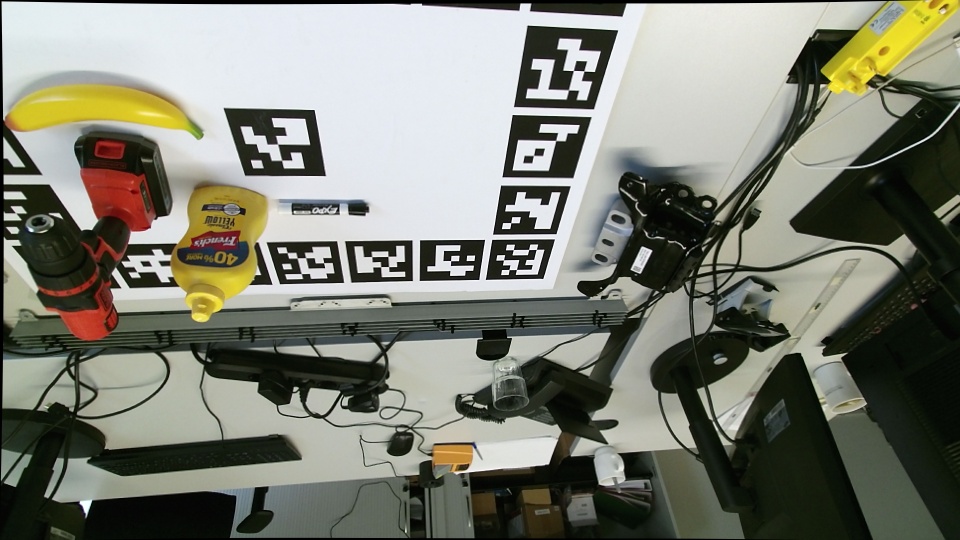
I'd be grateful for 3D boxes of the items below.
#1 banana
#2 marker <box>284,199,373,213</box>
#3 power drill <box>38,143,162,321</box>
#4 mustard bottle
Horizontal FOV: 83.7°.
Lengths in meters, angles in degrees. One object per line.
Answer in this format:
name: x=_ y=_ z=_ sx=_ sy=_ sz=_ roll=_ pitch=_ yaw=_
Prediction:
banana: x=-0.423 y=-0.187 z=0.613 sx=0.198 sy=0.038 sz=0.074 roll=2 pitch=136 yaw=-14
marker: x=-0.215 y=-0.091 z=0.766 sx=0.121 sy=0.019 sz=0.019 roll=-1 pitch=137 yaw=-9
power drill: x=-0.429 y=-0.058 z=0.614 sx=0.057 sy=0.186 sz=0.185 roll=9 pitch=138 yaw=-16
mustard bottle: x=-0.331 y=-0.030 z=0.686 sx=0.096 sy=0.190 sz=0.058 roll=6 pitch=137 yaw=-15
